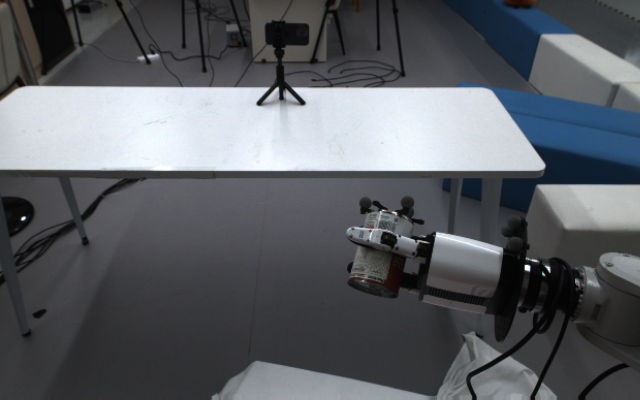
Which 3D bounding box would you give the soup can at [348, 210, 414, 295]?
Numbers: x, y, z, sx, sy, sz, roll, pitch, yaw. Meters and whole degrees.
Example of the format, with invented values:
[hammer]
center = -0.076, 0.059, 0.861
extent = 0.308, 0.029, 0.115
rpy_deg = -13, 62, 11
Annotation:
[soup can]
center = 0.084, 0.071, 0.642
extent = 0.067, 0.067, 0.101
rpy_deg = 12, 70, 14
